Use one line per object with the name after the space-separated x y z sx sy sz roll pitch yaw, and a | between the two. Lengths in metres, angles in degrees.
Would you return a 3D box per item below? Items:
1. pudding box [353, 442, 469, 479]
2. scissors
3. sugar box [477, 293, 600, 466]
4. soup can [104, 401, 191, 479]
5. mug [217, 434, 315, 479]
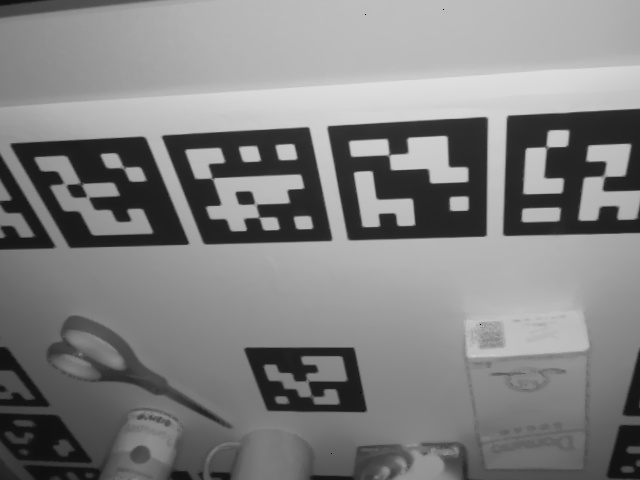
0.088 0.249 0.680 0.113 0.091 0.038 -10 120 16 | pudding box
-0.164 0.128 0.671 0.204 0.016 0.086 36 115 -18 | scissors
0.191 0.128 0.606 0.092 0.046 0.175 -6 126 11 | sugar box
-0.176 0.225 0.705 0.068 0.103 0.067 4 130 5 | soup can
-0.057 0.250 0.712 0.092 0.082 0.118 -36 117 28 | mug
